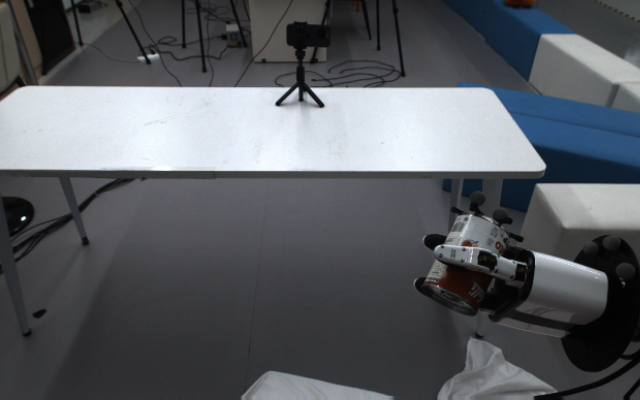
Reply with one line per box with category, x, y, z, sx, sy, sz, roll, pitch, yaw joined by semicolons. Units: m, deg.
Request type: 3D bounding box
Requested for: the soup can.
soup can;0.173;0.072;0.566;0.067;0.067;0.101;23;71;27
